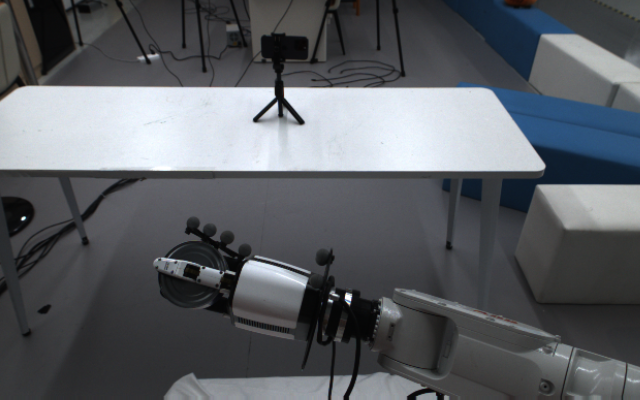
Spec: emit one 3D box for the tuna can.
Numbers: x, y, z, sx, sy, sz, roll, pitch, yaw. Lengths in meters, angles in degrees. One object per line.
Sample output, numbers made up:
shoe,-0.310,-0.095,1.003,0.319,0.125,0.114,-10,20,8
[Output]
tuna can,-0.159,0.097,0.624,0.085,0.034,0.085,0,72,0
